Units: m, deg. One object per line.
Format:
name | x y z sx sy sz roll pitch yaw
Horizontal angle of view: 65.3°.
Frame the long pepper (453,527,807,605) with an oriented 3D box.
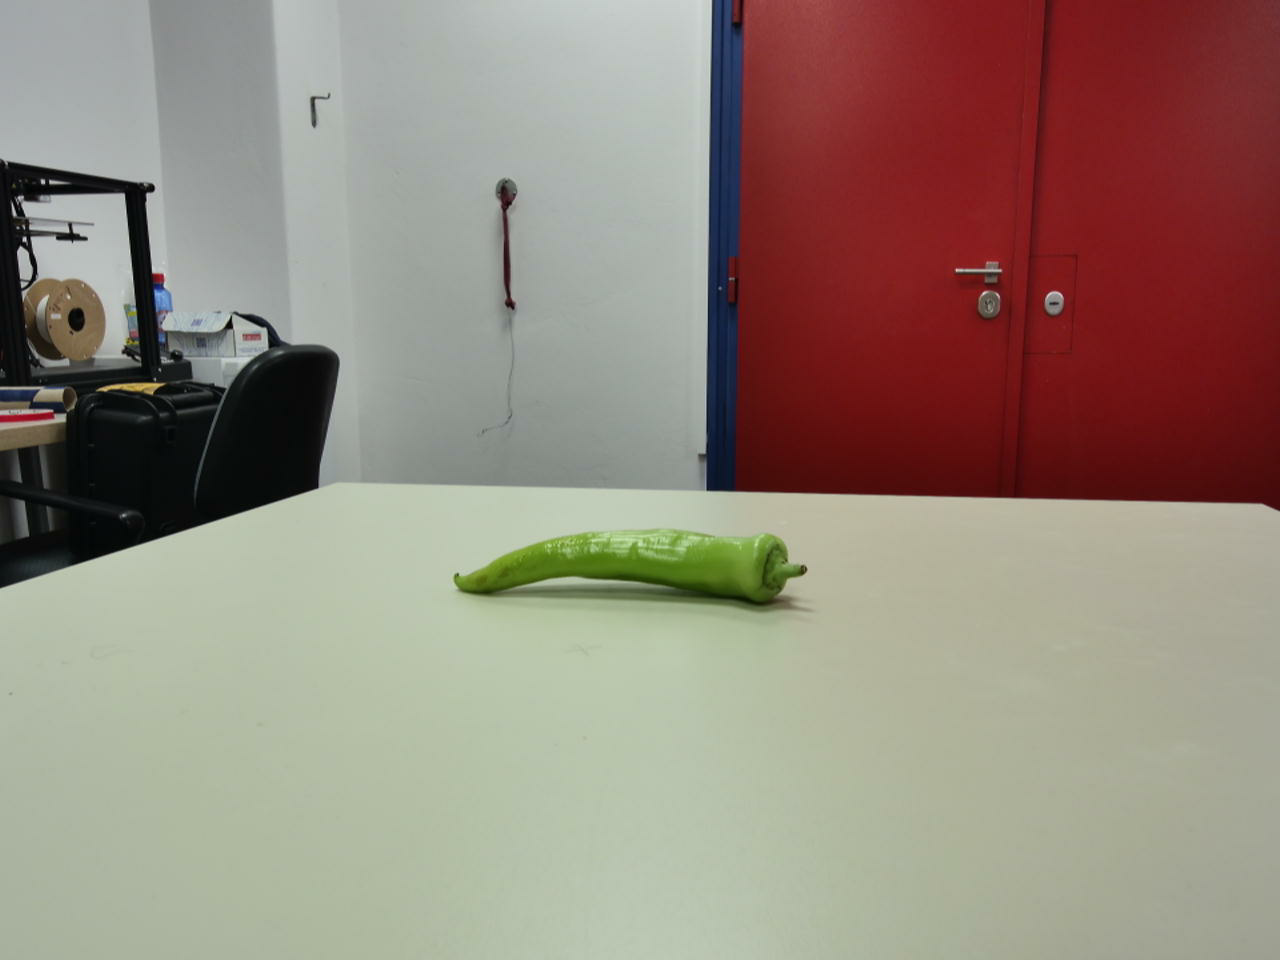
long pepper | -0.007 0.044 0.546 0.197 0.038 0.046 2 6 14
